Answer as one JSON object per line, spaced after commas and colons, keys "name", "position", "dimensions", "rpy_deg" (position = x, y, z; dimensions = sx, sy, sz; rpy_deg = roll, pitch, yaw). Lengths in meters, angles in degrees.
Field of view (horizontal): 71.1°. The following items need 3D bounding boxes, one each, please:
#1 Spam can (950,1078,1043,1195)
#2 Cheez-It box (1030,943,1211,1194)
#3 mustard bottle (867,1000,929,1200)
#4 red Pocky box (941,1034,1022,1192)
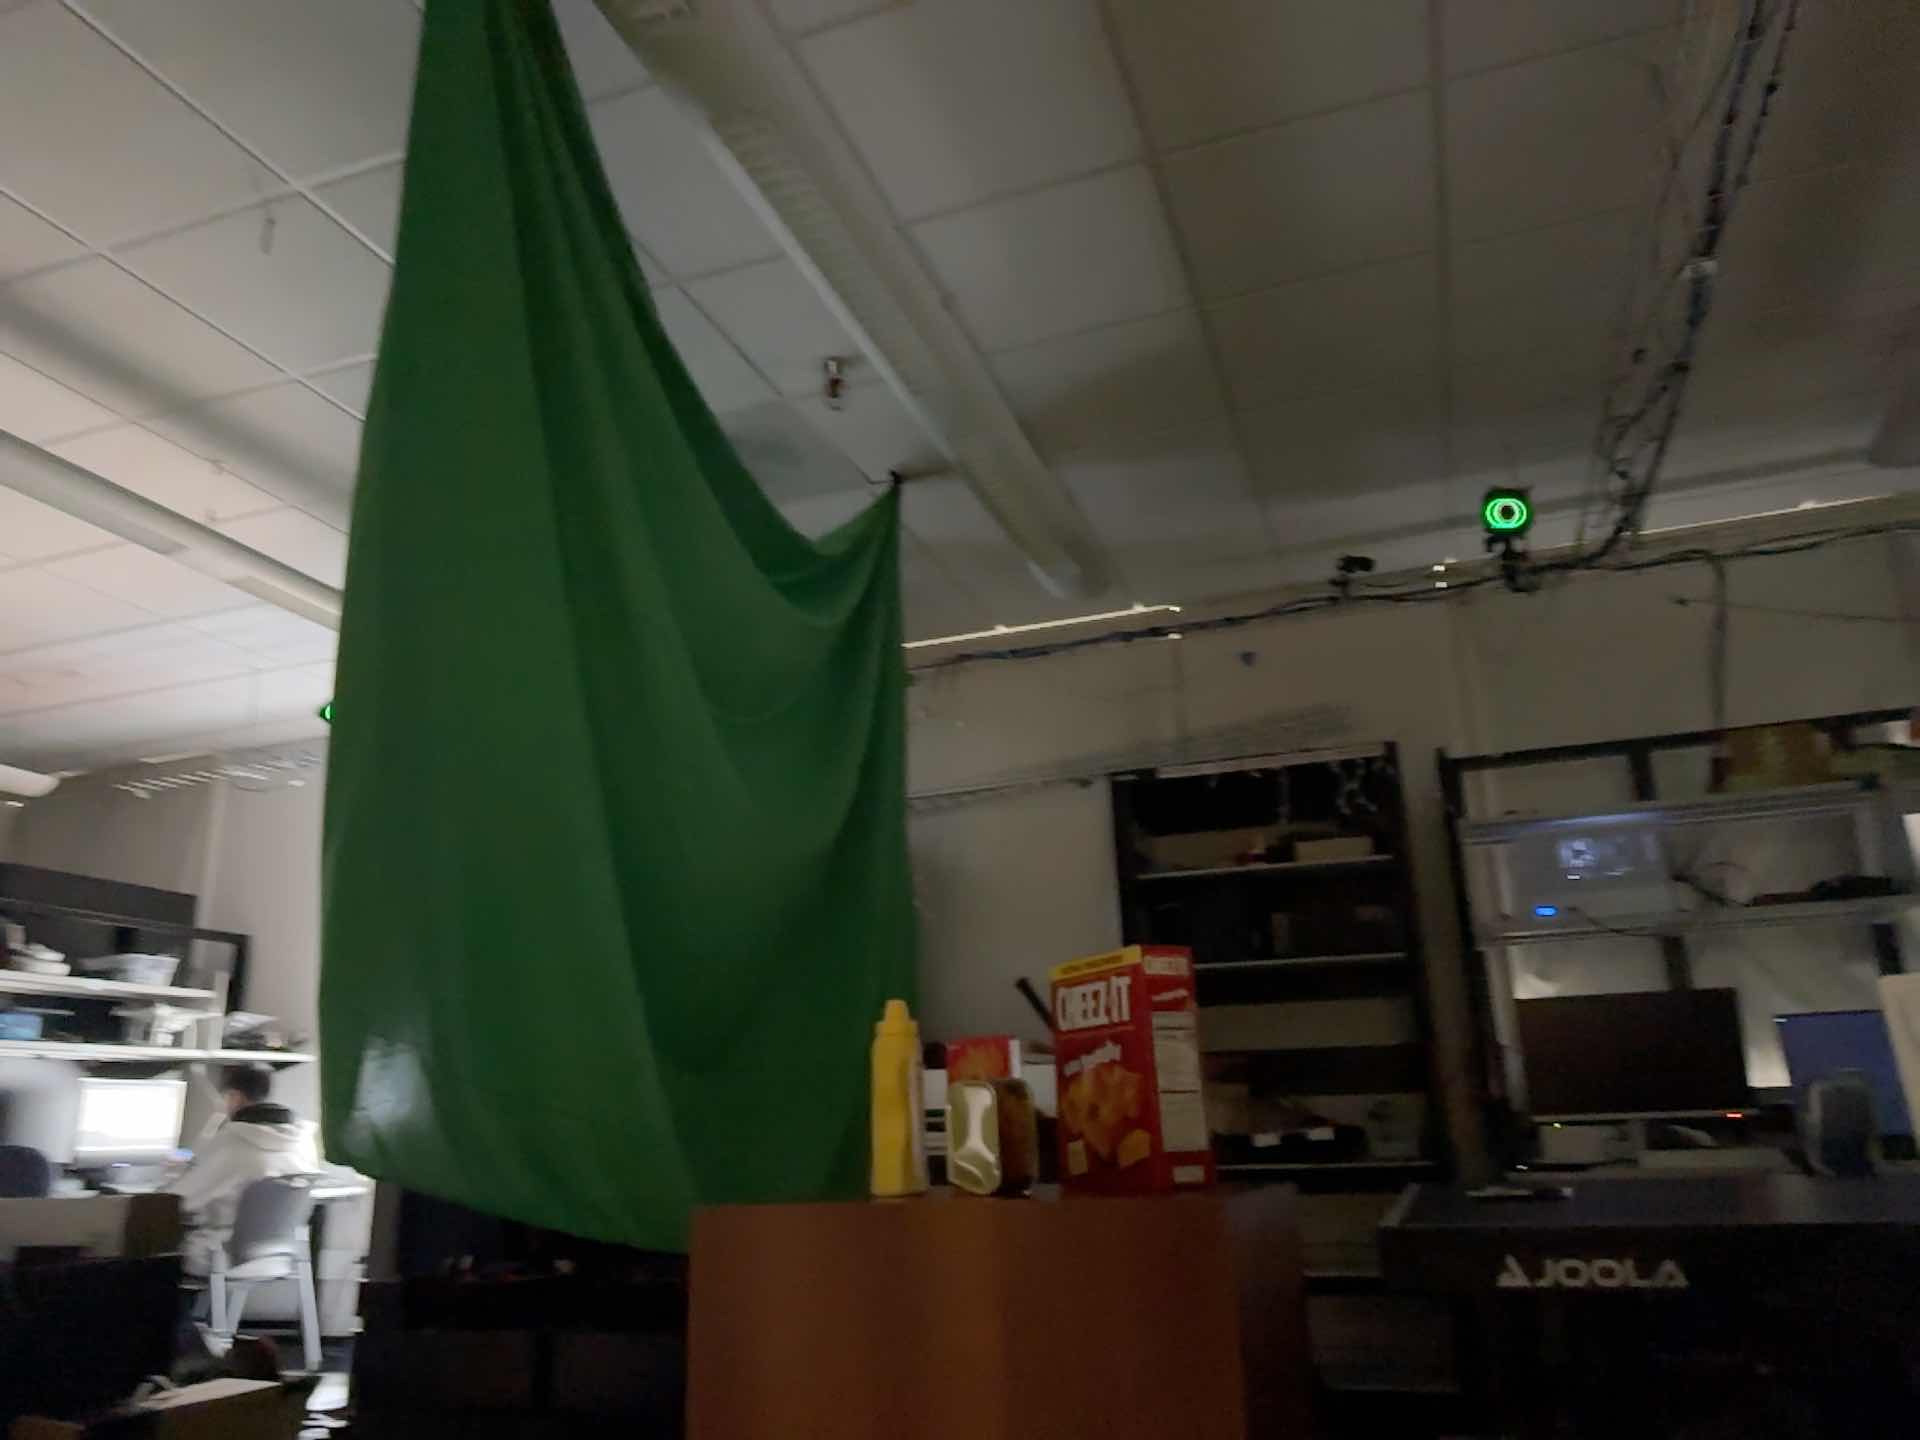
{"name": "Spam can", "position": [0.032, 0.381, 1.234], "dimensions": [0.056, 0.100, 0.083], "rpy_deg": [-10, -18, 24]}
{"name": "Cheez-It box", "position": [0.148, 0.334, 1.290], "dimensions": [0.062, 0.214, 0.159], "rpy_deg": [11, -20, -39]}
{"name": "mustard bottle", "position": [-0.062, 0.363, 1.294], "dimensions": [0.054, 0.184, 0.092], "rpy_deg": [-8, -18, 17]}
{"name": "red Pocky box", "position": [0.021, 0.406, 1.390], "dimensions": [0.083, 0.155, 0.028], "rpy_deg": [-13, -20, 31]}
